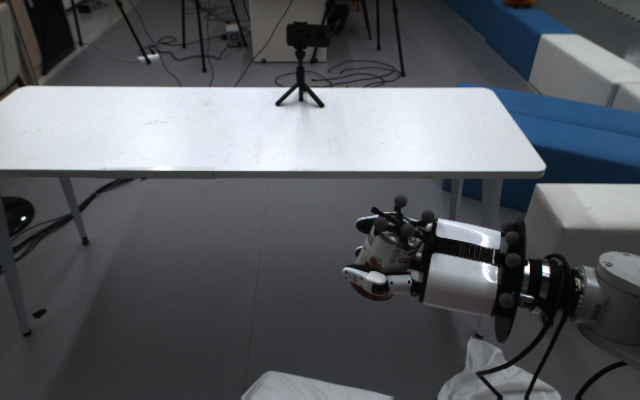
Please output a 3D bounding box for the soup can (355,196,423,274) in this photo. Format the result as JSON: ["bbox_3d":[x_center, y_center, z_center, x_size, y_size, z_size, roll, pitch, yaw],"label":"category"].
[{"bbox_3d":[0.088,0.075,0.642,0.067,0.101,0.067,14,35,-10],"label":"soup can"}]
